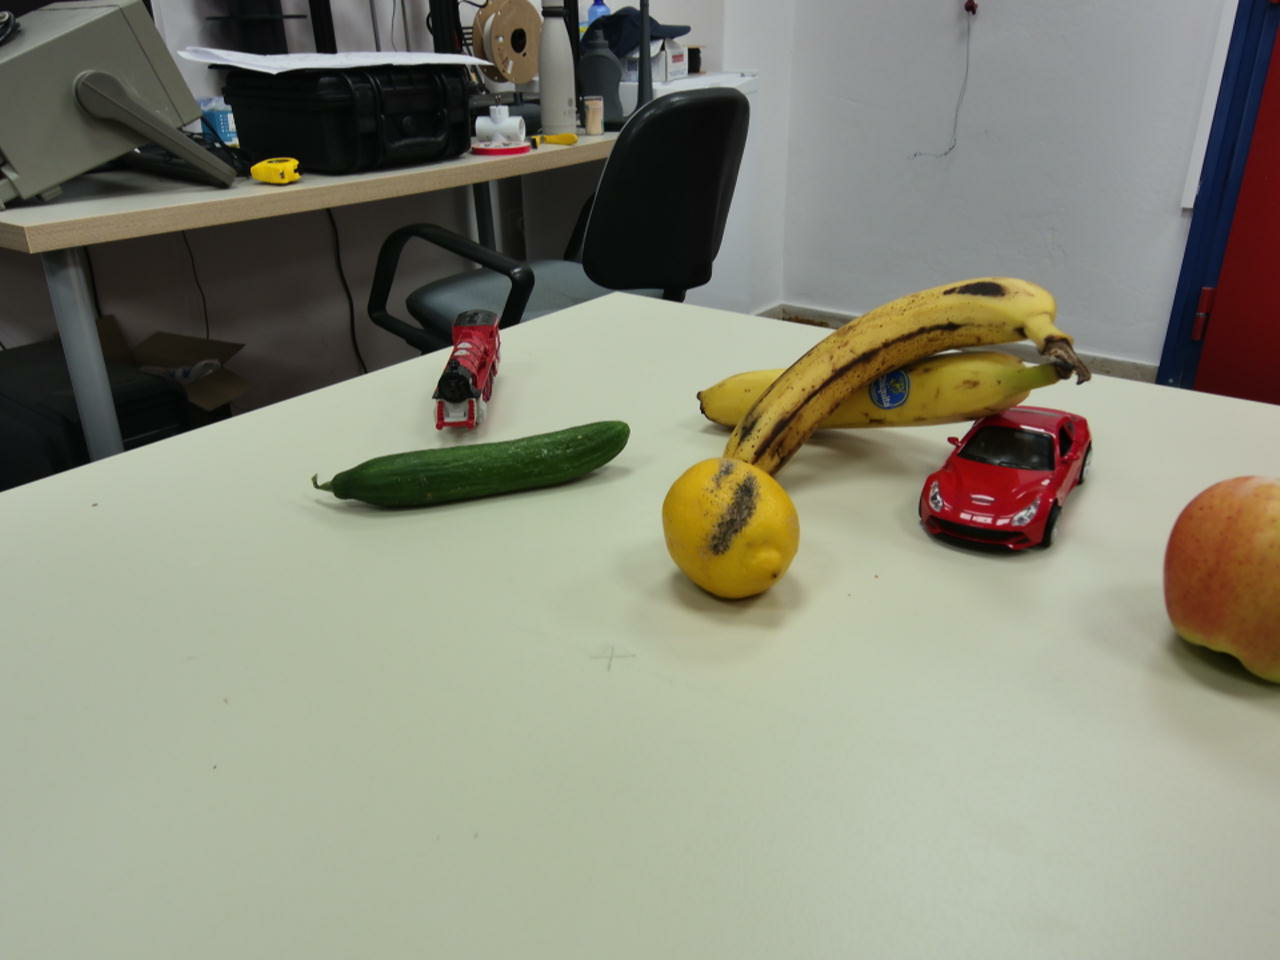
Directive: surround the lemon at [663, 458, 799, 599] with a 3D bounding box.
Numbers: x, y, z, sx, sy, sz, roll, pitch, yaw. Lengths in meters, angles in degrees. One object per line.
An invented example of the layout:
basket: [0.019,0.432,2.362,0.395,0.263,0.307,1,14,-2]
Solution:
lemon: [0.039,0.021,0.428,0.061,0.056,0.058,13,26,28]
